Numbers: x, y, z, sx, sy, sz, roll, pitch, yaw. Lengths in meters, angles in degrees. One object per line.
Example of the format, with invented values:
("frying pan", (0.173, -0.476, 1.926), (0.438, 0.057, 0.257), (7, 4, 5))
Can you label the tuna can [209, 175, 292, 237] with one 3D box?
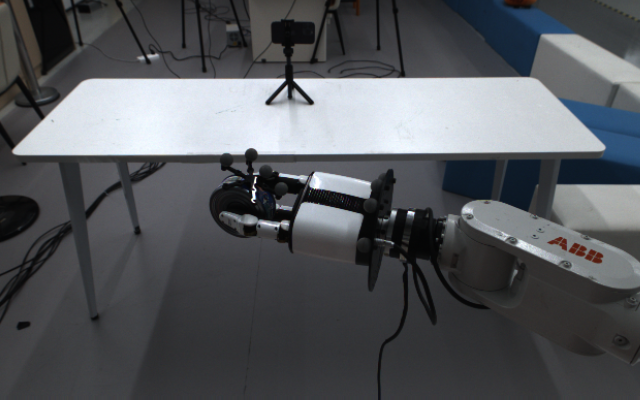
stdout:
("tuna can", (-0.102, 0.015, 0.652), (0.085, 0.085, 0.034), (12, 35, 14))
